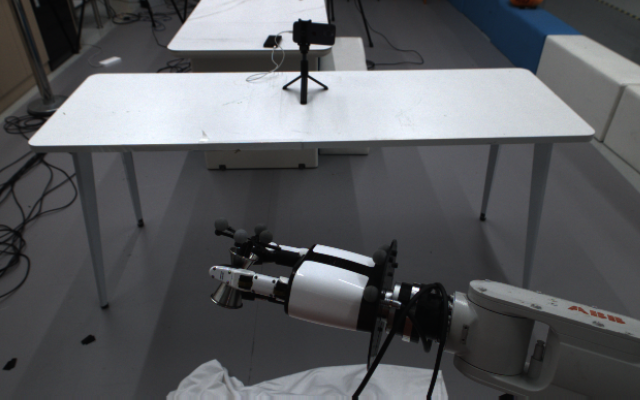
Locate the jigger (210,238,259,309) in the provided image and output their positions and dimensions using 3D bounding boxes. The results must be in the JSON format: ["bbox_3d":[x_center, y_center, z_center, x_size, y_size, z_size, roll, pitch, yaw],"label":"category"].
[{"bbox_3d":[-0.108,0.098,0.614,0.043,0.071,0.043,21,6,-2],"label":"jigger"}]
